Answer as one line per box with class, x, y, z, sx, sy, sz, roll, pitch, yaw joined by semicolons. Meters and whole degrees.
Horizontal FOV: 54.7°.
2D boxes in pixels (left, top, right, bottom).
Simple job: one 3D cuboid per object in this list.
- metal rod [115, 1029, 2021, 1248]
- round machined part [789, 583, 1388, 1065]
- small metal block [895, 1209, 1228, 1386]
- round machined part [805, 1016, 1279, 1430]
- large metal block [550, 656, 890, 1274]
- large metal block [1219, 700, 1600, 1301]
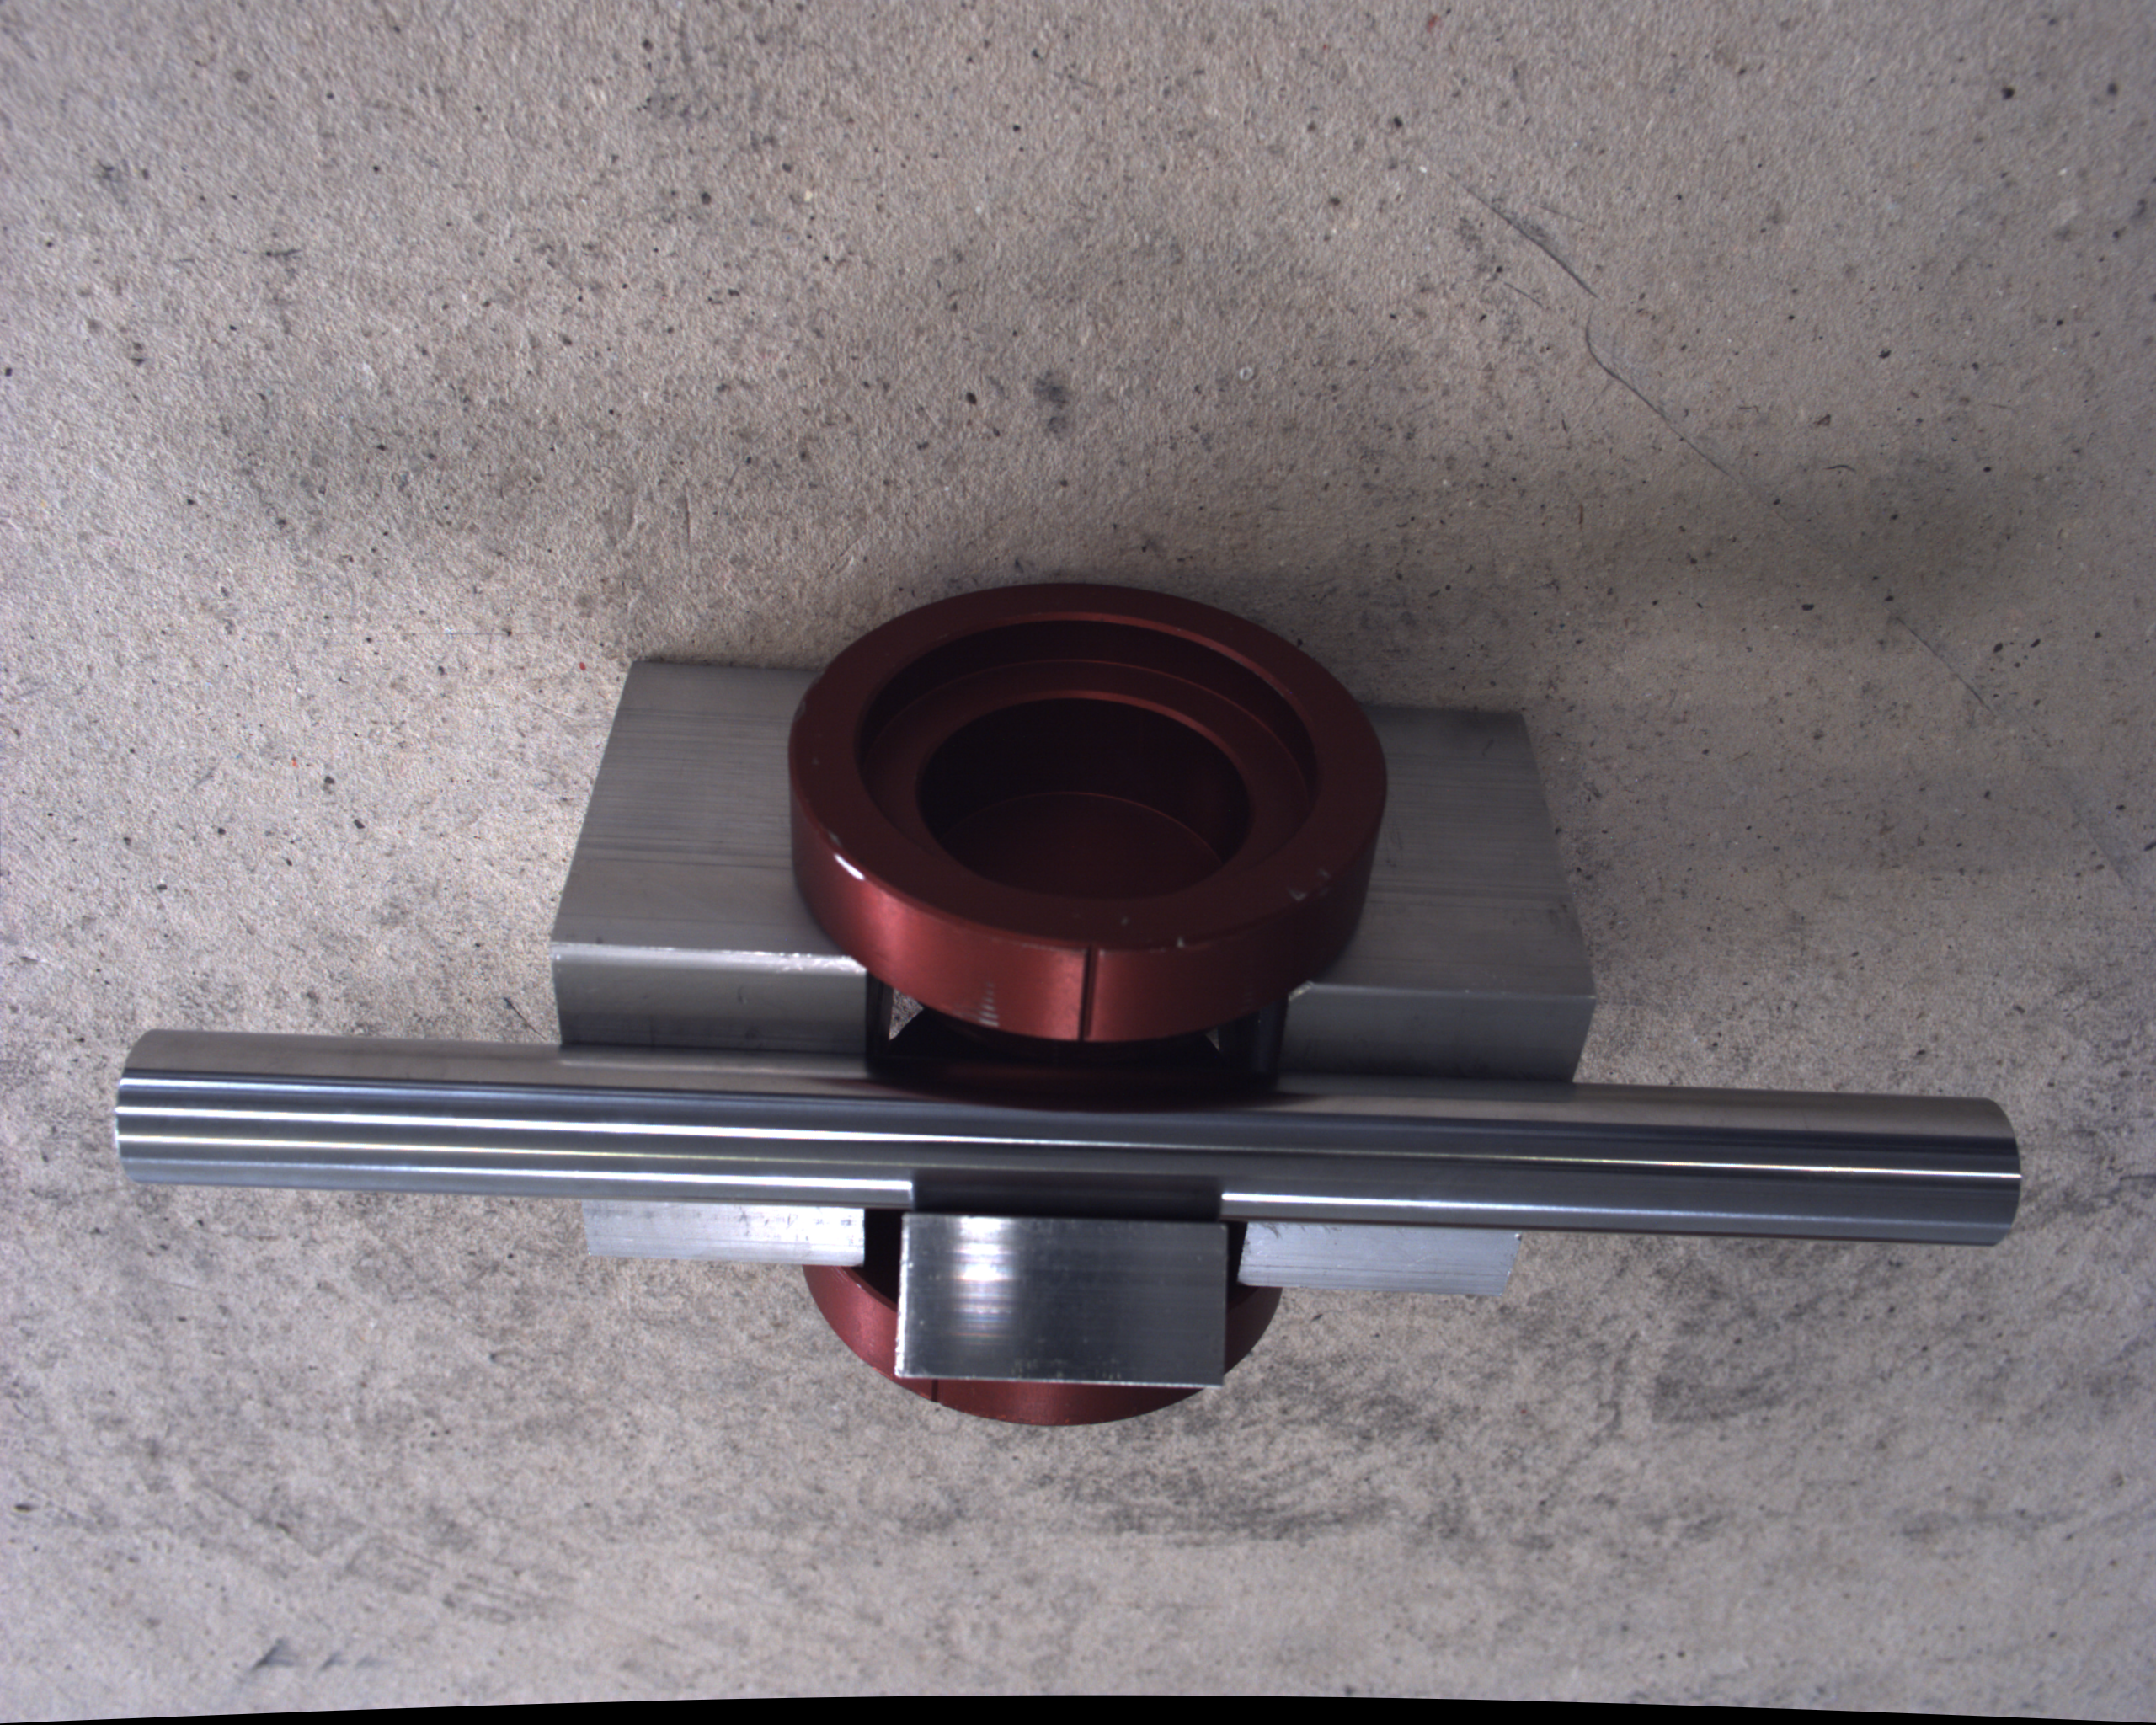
metal rod;0.001;0.046;0.342;0.302;0.025;0.025;2;130;-3
round machined part;0.001;-0.004;0.357;0.099;0.098;0.042;3;131;-3
small metal block;-0.002;0.071;0.346;0.050;0.025;0.050;2;171;0
round machined part;-0.005;0.060;0.411;0.099;0.098;0.042;4;125;-3
large metal block;-0.062;0.019;0.388;0.050;0.080;0.079;3;130;-3
large metal block;0.057;0.025;0.395;0.050;0.080;0.079;3;130;-3
